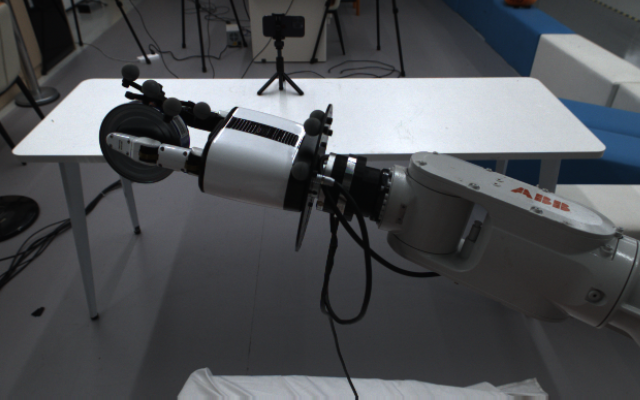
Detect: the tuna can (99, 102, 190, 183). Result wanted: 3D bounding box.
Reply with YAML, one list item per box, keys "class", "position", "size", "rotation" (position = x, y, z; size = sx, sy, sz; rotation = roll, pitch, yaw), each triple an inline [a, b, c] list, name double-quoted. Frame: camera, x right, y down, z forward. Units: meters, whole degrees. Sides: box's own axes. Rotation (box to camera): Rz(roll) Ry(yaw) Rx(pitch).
- class: "tuna can"
  position: [-0.182, -0.062, 0.513]
  size: [0.085, 0.085, 0.034]
  rotation: [4, 20, 3]
